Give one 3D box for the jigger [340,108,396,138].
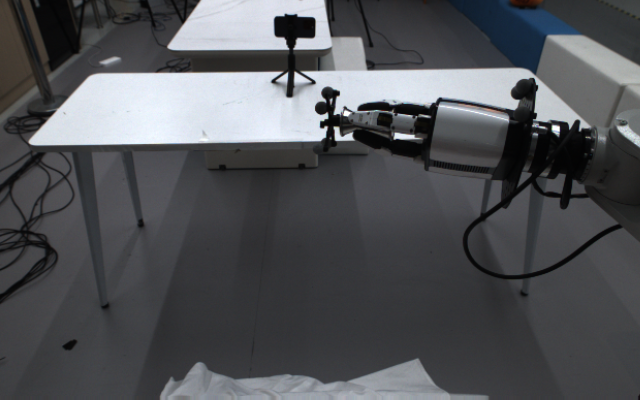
[{"bbox_3d":[0.069,-0.104,0.639,0.071,0.043,0.043,6,35,15],"label":"jigger"}]
